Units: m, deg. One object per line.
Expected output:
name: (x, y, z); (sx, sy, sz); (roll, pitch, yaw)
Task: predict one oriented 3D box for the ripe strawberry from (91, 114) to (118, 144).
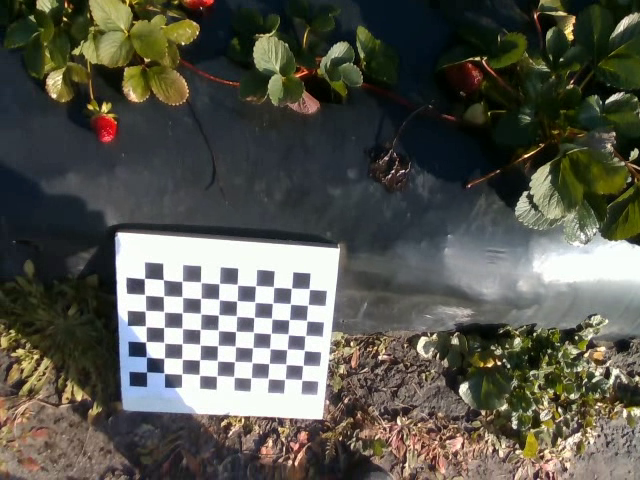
ripe strawberry: (-0.219, -0.113, 0.621); (0.028, 0.041, 0.031); (-20, -37, 6)
